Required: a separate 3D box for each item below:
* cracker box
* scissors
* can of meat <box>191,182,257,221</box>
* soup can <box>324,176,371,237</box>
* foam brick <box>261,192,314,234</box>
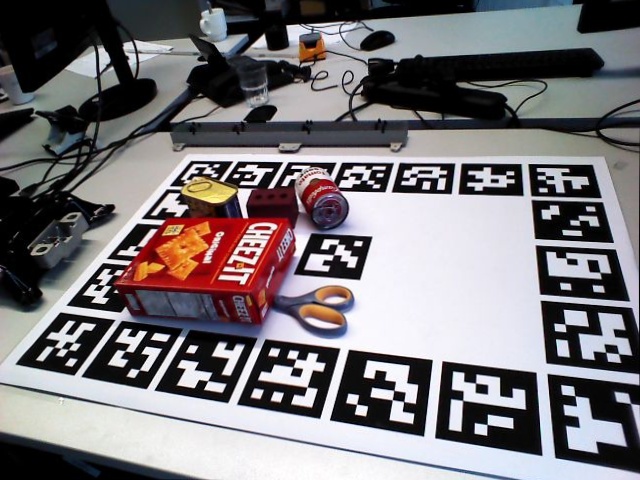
[{"bbox_3d":[-0.141,0.045,0.744,0.215,0.072,0.163,-4,38,16],"label":"cracker box"},{"bbox_3d":[-0.035,0.096,0.702,0.204,0.016,0.087,-1,40,14],"label":"scissors"},{"bbox_3d":[-0.154,-0.042,0.864,0.102,0.084,0.057,13,45,28],"label":"can of meat"},{"bbox_3d":[0.033,-0.058,0.864,0.068,0.068,0.102,-22,34,-12],"label":"soup can"},{"bbox_3d":[-0.052,-0.044,0.870,0.078,0.051,0.052,-4,40,10],"label":"foam brick"}]
